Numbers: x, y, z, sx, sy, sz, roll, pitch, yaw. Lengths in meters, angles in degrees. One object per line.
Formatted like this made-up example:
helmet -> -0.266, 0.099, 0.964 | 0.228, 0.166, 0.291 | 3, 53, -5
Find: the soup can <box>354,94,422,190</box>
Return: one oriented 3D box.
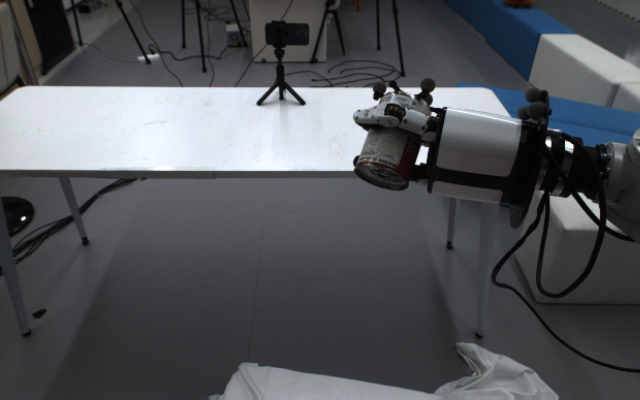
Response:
soup can -> 0.091, -0.072, 0.590 | 0.067, 0.067, 0.101 | 15, 74, 18
